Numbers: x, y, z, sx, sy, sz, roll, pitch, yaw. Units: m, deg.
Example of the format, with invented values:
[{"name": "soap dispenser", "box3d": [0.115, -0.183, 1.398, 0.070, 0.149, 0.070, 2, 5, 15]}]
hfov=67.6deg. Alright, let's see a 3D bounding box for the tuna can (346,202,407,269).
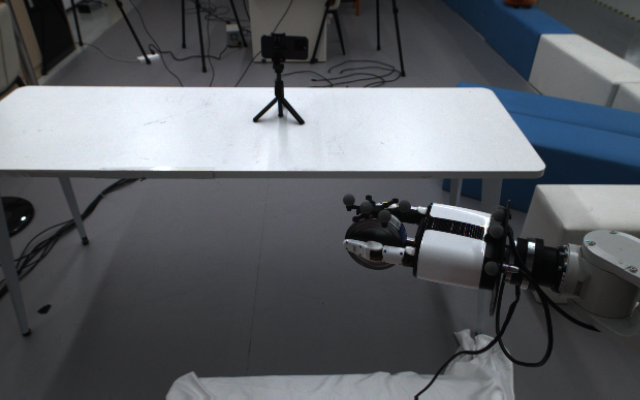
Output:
[{"name": "tuna can", "box3d": [0.084, 0.056, 0.703, 0.085, 0.085, 0.034, 13, 29, 16]}]
